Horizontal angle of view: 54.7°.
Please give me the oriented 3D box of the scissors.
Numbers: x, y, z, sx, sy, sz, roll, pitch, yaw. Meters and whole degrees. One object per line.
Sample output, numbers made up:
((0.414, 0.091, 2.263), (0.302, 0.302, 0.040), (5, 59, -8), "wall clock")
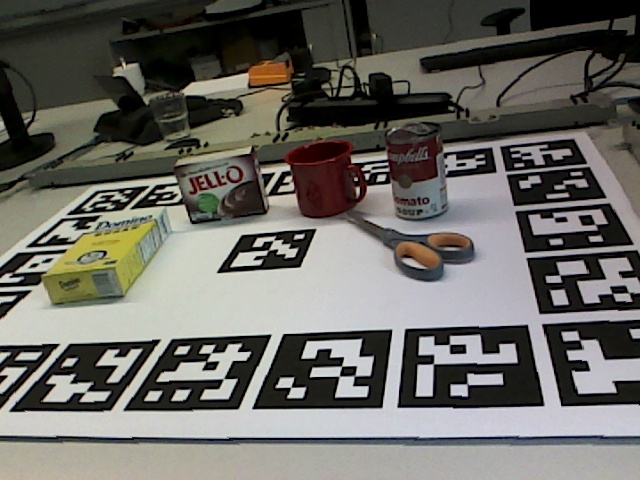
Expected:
((0.087, 0.003, 0.701), (0.087, 0.016, 0.204), (-34, 35, -18), "scissors")

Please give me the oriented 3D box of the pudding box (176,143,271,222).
((-0.131, -0.080, 0.857), (0.114, 0.089, 0.039), (-9, 35, 6), "pudding box")

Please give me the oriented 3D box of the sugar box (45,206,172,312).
((-0.264, 0.019, 0.793), (0.093, 0.045, 0.176), (-8, 30, 12), "sugar box")

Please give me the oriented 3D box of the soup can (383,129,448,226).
((0.119, -0.077, 0.760), (0.068, 0.101, 0.068), (-10, 27, 5), "soup can")

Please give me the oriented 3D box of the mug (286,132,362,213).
((0.015, -0.086, 0.824), (0.093, 0.081, 0.118), (-24, 29, -16), "mug")
